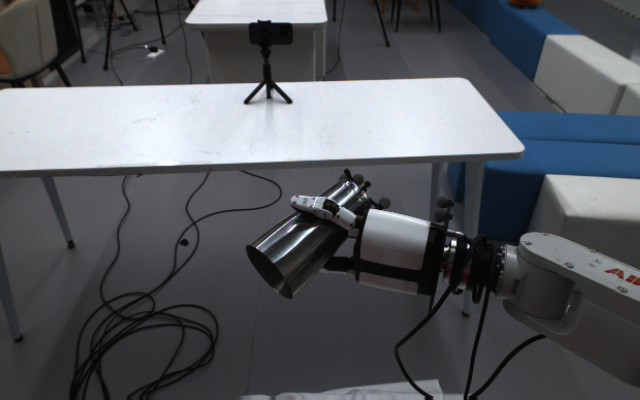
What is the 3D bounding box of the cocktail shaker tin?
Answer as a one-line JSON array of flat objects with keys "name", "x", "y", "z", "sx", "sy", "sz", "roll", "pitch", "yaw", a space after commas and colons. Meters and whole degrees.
[{"name": "cocktail shaker tin", "x": -0.008, "y": 0.041, "z": 0.671, "sx": 0.170, "sy": 0.093, "sz": 0.093, "roll": -38, "pitch": 49, "yaw": -23}]
